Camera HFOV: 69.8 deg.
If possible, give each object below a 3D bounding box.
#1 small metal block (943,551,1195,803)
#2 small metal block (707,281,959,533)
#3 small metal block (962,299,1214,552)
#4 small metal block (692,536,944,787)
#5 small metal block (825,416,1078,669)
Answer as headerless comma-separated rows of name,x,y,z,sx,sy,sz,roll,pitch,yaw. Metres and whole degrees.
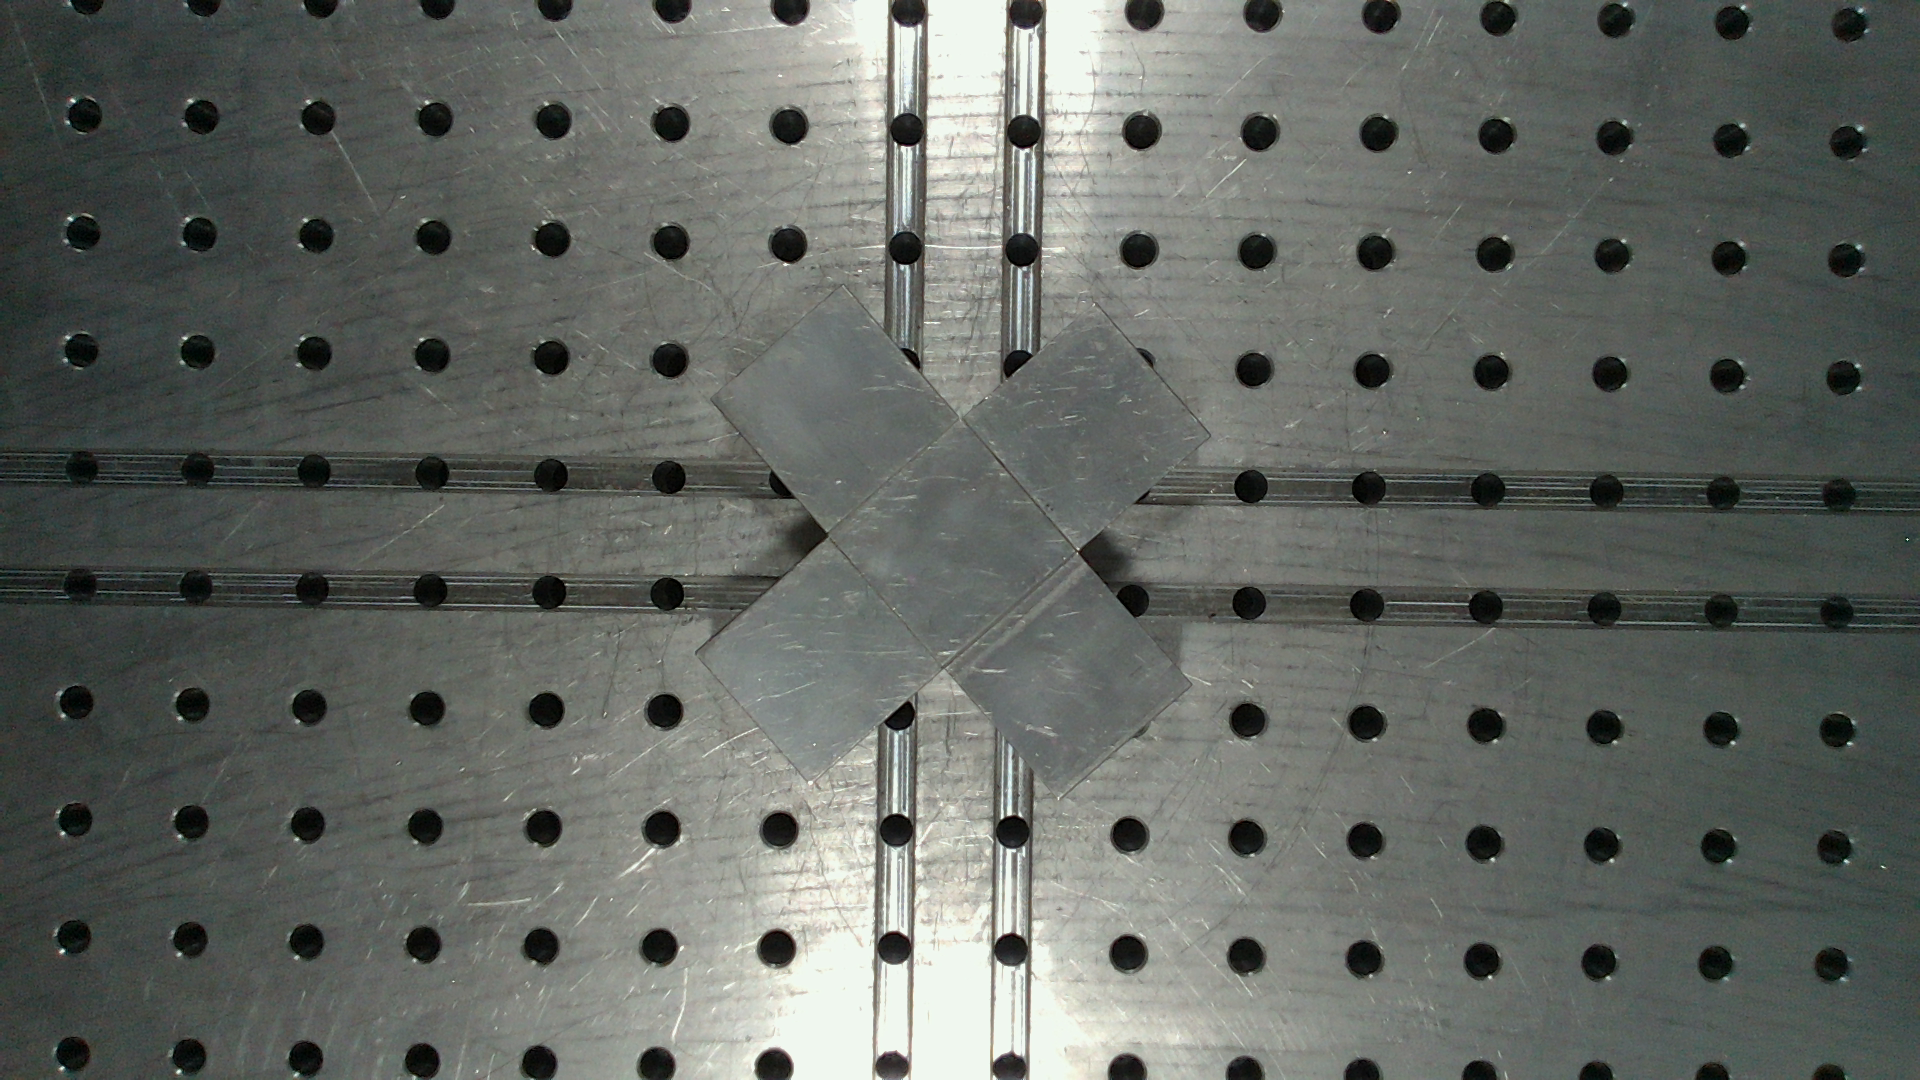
small metal block,0.031,0.038,0.398,0.050,0.025,0.050,-41,90,0
small metal block,-0.036,-0.037,0.397,0.050,0.025,0.050,-41,90,0
small metal block,0.036,-0.032,0.397,0.050,0.025,0.050,-41,90,0
small metal block,-0.040,0.034,0.398,0.050,0.025,0.050,-41,90,0
small metal block,-0.002,0.001,0.397,0.050,0.025,0.050,-41,90,0
